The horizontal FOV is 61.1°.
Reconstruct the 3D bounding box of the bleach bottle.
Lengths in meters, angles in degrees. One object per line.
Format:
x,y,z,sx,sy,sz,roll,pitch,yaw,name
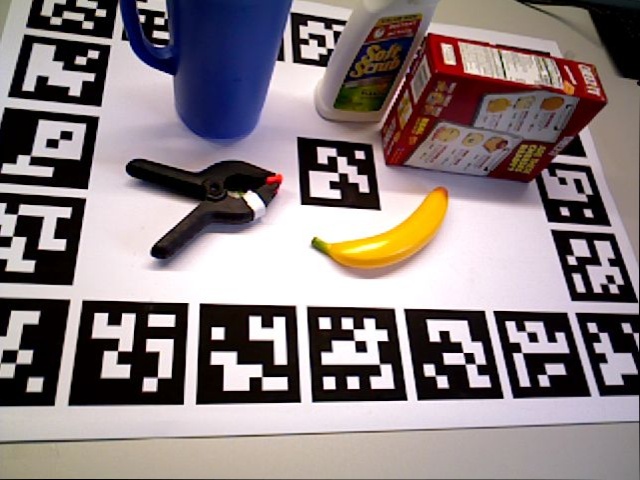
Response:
0.057,-0.239,0.631,0.101,0.256,0.067,2,59,-14,bleach bottle

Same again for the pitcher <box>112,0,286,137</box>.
-0.114,-0.220,0.552,0.185,0.248,0.132,-15,65,-25,pitcher

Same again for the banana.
0.092,-0.010,0.646,0.193,0.040,0.074,-32,73,-28,banana

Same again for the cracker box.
0.206,-0.154,0.656,0.211,0.168,0.071,3,57,-12,cracker box

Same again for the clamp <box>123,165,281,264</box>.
-0.120,-0.042,0.599,0.162,0.037,0.121,-13,64,-23,clamp
